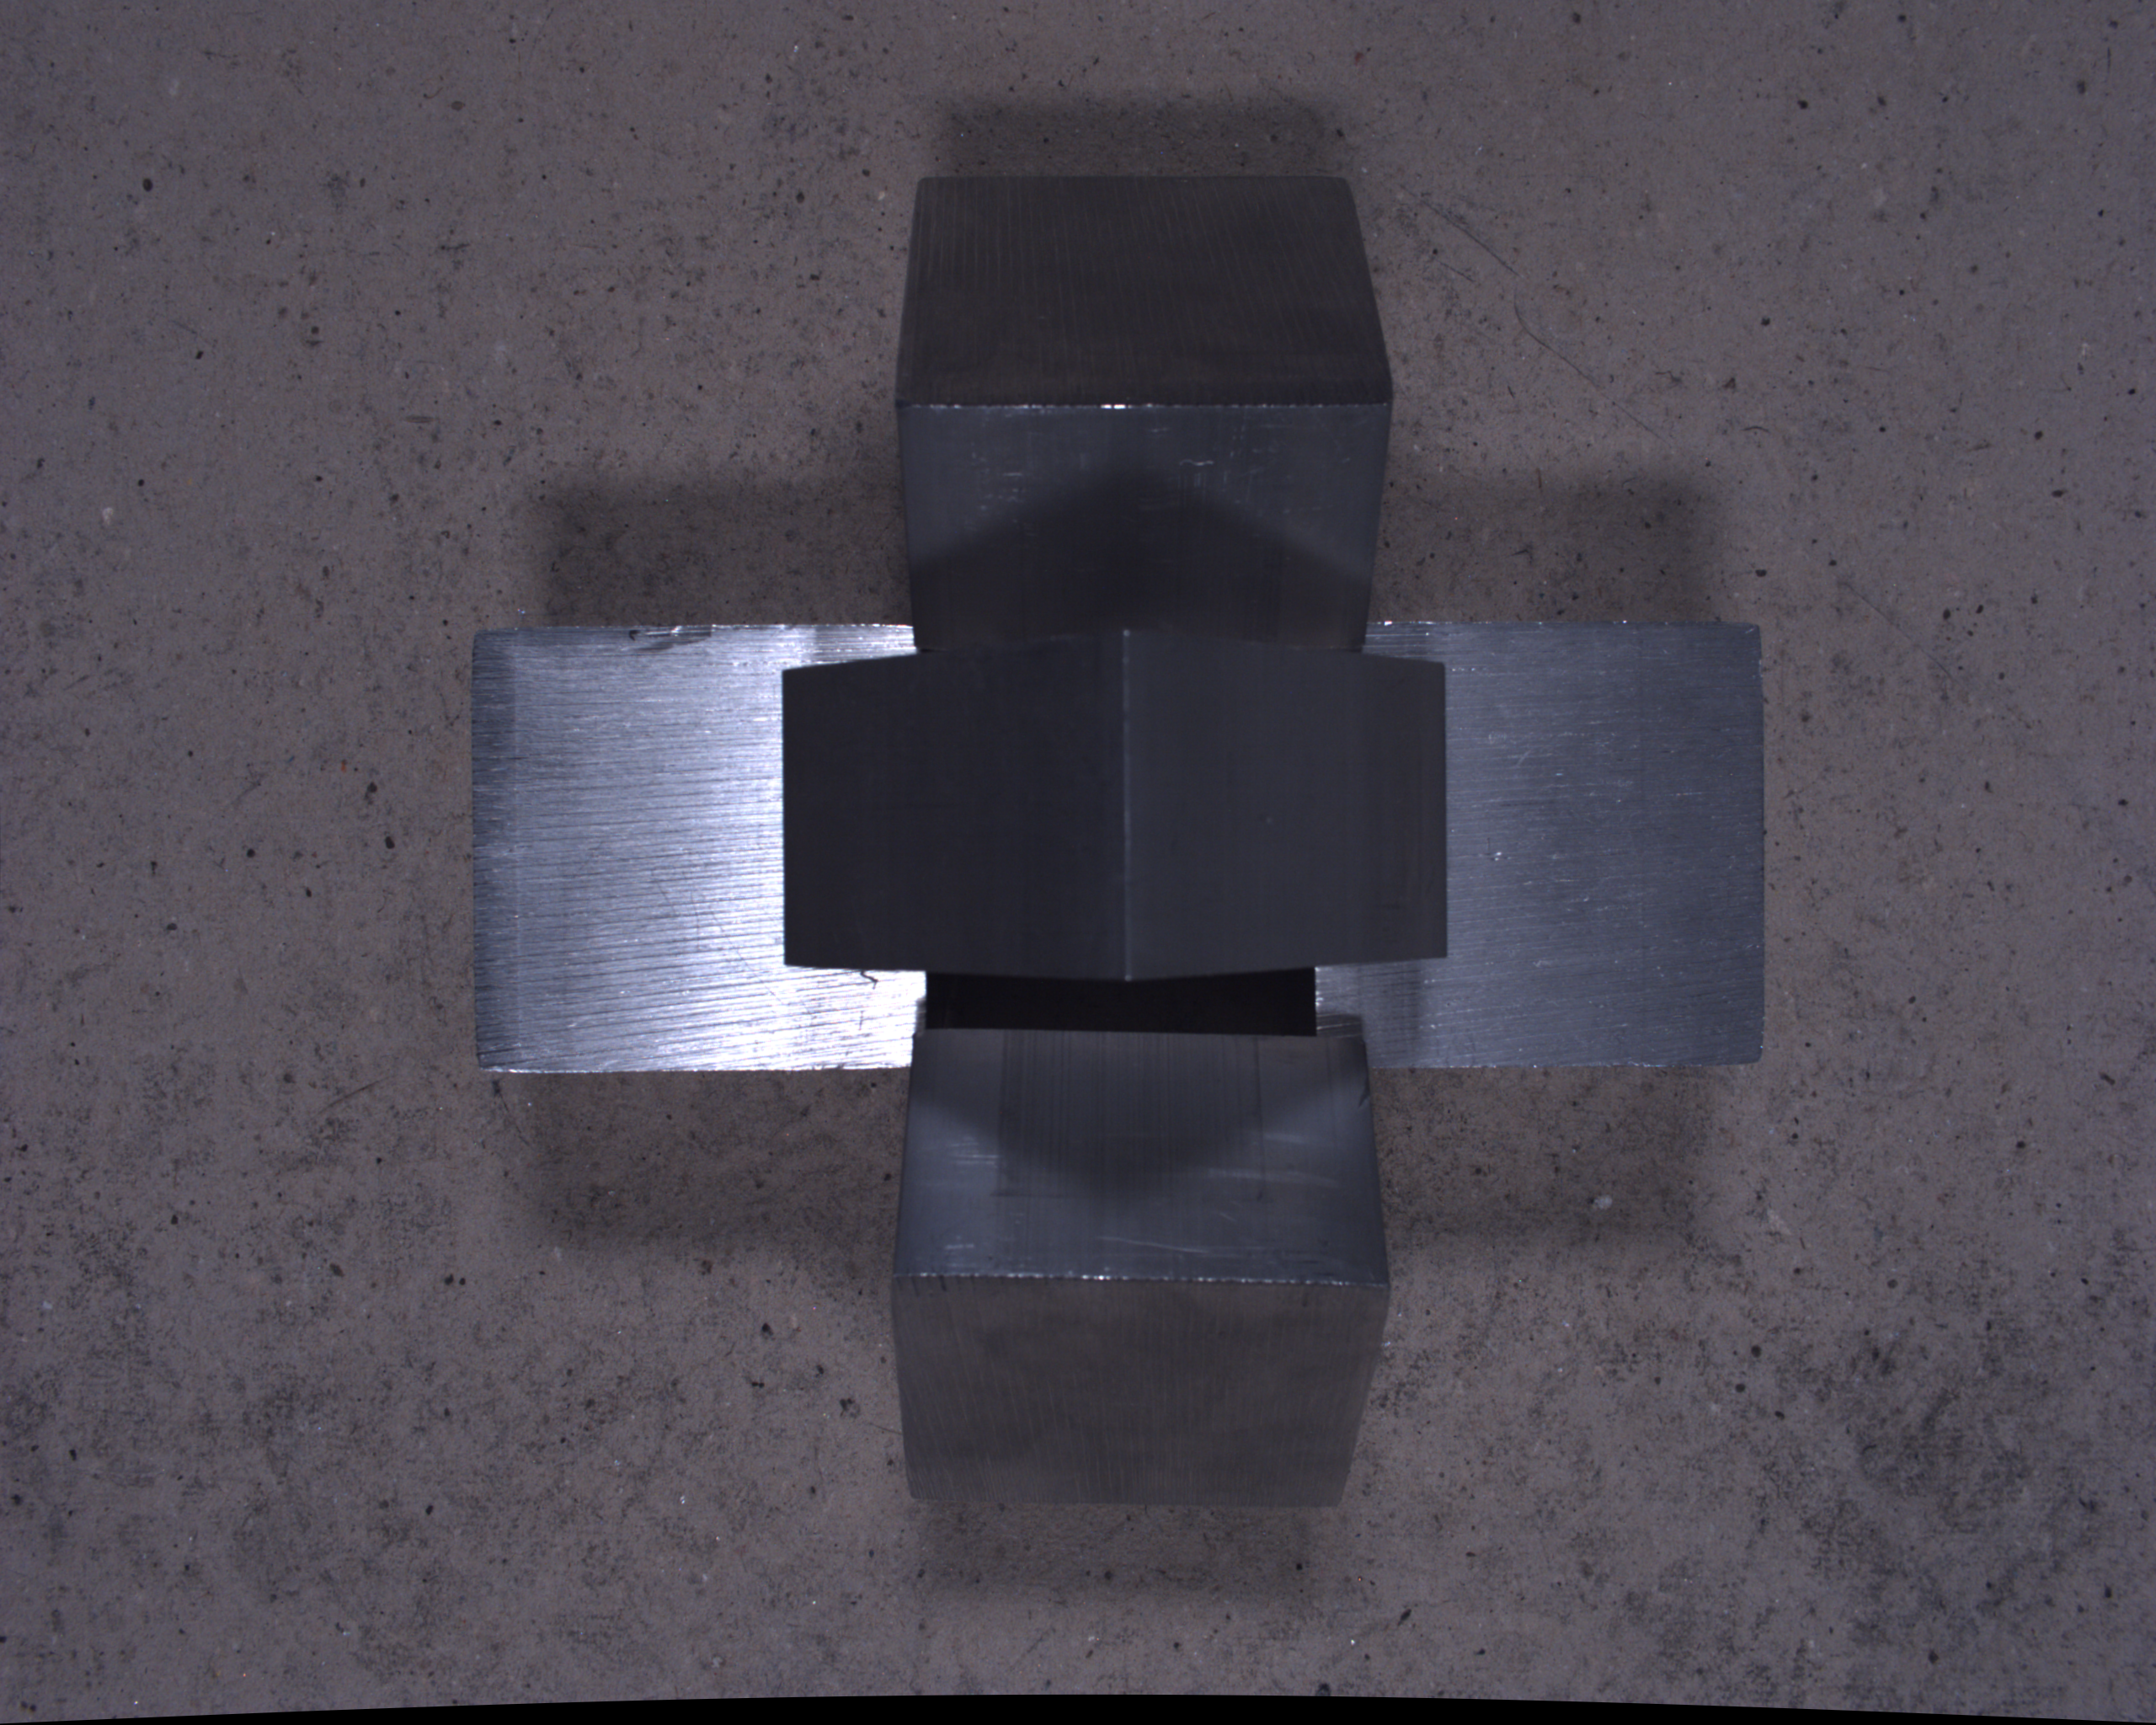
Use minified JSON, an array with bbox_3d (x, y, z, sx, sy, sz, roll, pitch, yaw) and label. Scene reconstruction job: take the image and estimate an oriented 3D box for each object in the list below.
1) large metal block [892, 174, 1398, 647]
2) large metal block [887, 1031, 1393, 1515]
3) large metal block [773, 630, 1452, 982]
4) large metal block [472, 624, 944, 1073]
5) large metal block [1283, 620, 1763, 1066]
[{"bbox_3d":[0.011,-0.083,0.378,0.081,0.080,0.050,0,134,0],"label":"large metal block"},{"bbox_3d":[0.010,0.076,0.378,0.081,0.080,0.050,1,47,0],"label":"large metal block"},{"bbox_3d":[0.006,-0.008,0.351,0.080,0.081,0.050,0,90,44],"label":"large metal block"},{"bbox_3d":[-0.068,-0.003,0.398,0.081,0.050,0.079,0,90,-1],"label":"large metal block"},{"bbox_3d":[0.082,-0.004,0.397,0.081,0.050,0.079,0,90,-1],"label":"large metal block"}]
